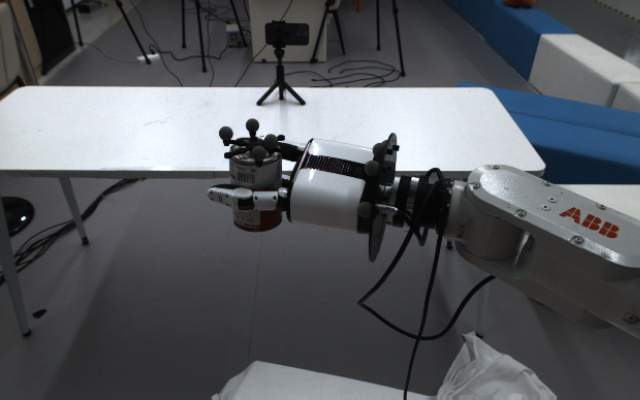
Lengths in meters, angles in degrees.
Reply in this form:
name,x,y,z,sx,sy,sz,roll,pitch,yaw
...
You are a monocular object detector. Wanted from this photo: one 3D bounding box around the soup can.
name,x,y,z,sx,sy,sz,roll,pitch,yaw
soup can,-0.081,-0.018,0.625,0.067,0.101,0.067,2,32,-1
